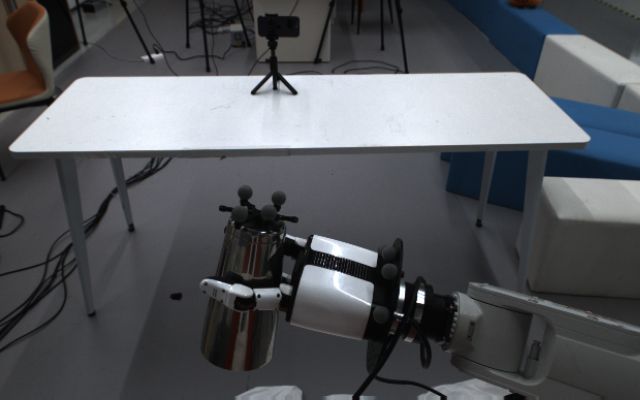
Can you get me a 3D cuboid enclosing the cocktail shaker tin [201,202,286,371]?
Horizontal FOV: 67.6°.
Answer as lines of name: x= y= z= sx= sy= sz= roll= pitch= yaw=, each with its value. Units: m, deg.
cocktail shaker tin: x=-0.084 y=0.103 z=0.573 sx=0.093 sy=0.170 sz=0.093 roll=11 pitch=19 yaw=-4
